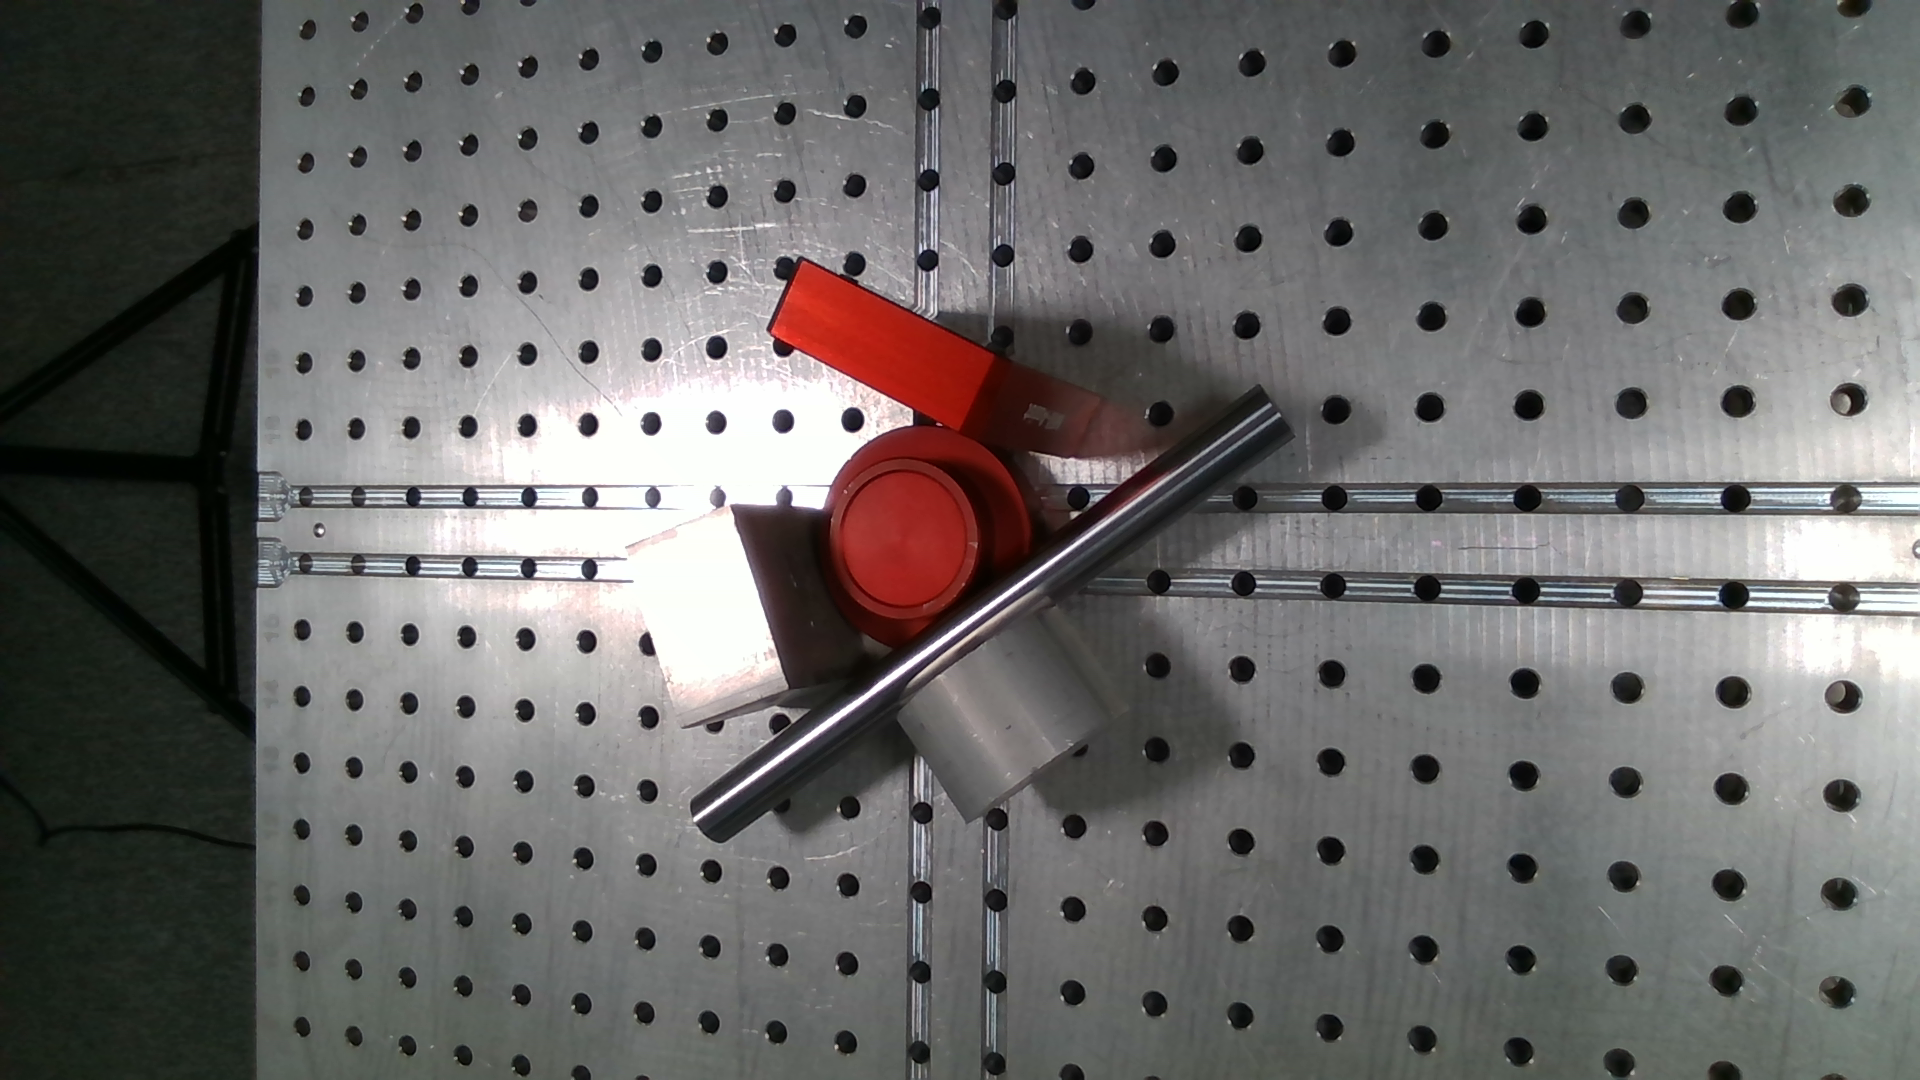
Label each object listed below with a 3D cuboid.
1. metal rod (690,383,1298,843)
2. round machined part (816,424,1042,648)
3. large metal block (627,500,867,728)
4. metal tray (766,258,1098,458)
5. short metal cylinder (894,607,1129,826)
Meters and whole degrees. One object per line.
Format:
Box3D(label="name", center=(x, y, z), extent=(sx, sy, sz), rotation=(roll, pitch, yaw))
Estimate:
Box3D(label="metal rod", center=(0.005, 0.037, 0.564), extent=(0.300, 0.025, 0.025), rotation=(-37, 78, 17))
Box3D(label="round machined part", center=(-0.018, -0.001, 0.585), extent=(0.098, 0.042, 0.098), rotation=(0, 91, 20))
Box3D(label="large metal block", center=(-0.089, 0.030, 0.592), extent=(0.050, 0.080, 0.080), rotation=(-20, 83, 19))
Box3D(label="metal tray", center=(-0.006, -0.067, 0.534), extent=(0.090, 0.130, 0.030), rotation=(29, 100, 18))
Box3D(label="short metal cylinder", center=(0.021, 0.071, 0.551), extent=(0.080, 0.080, 0.050), rotation=(-39, 78, 16))
